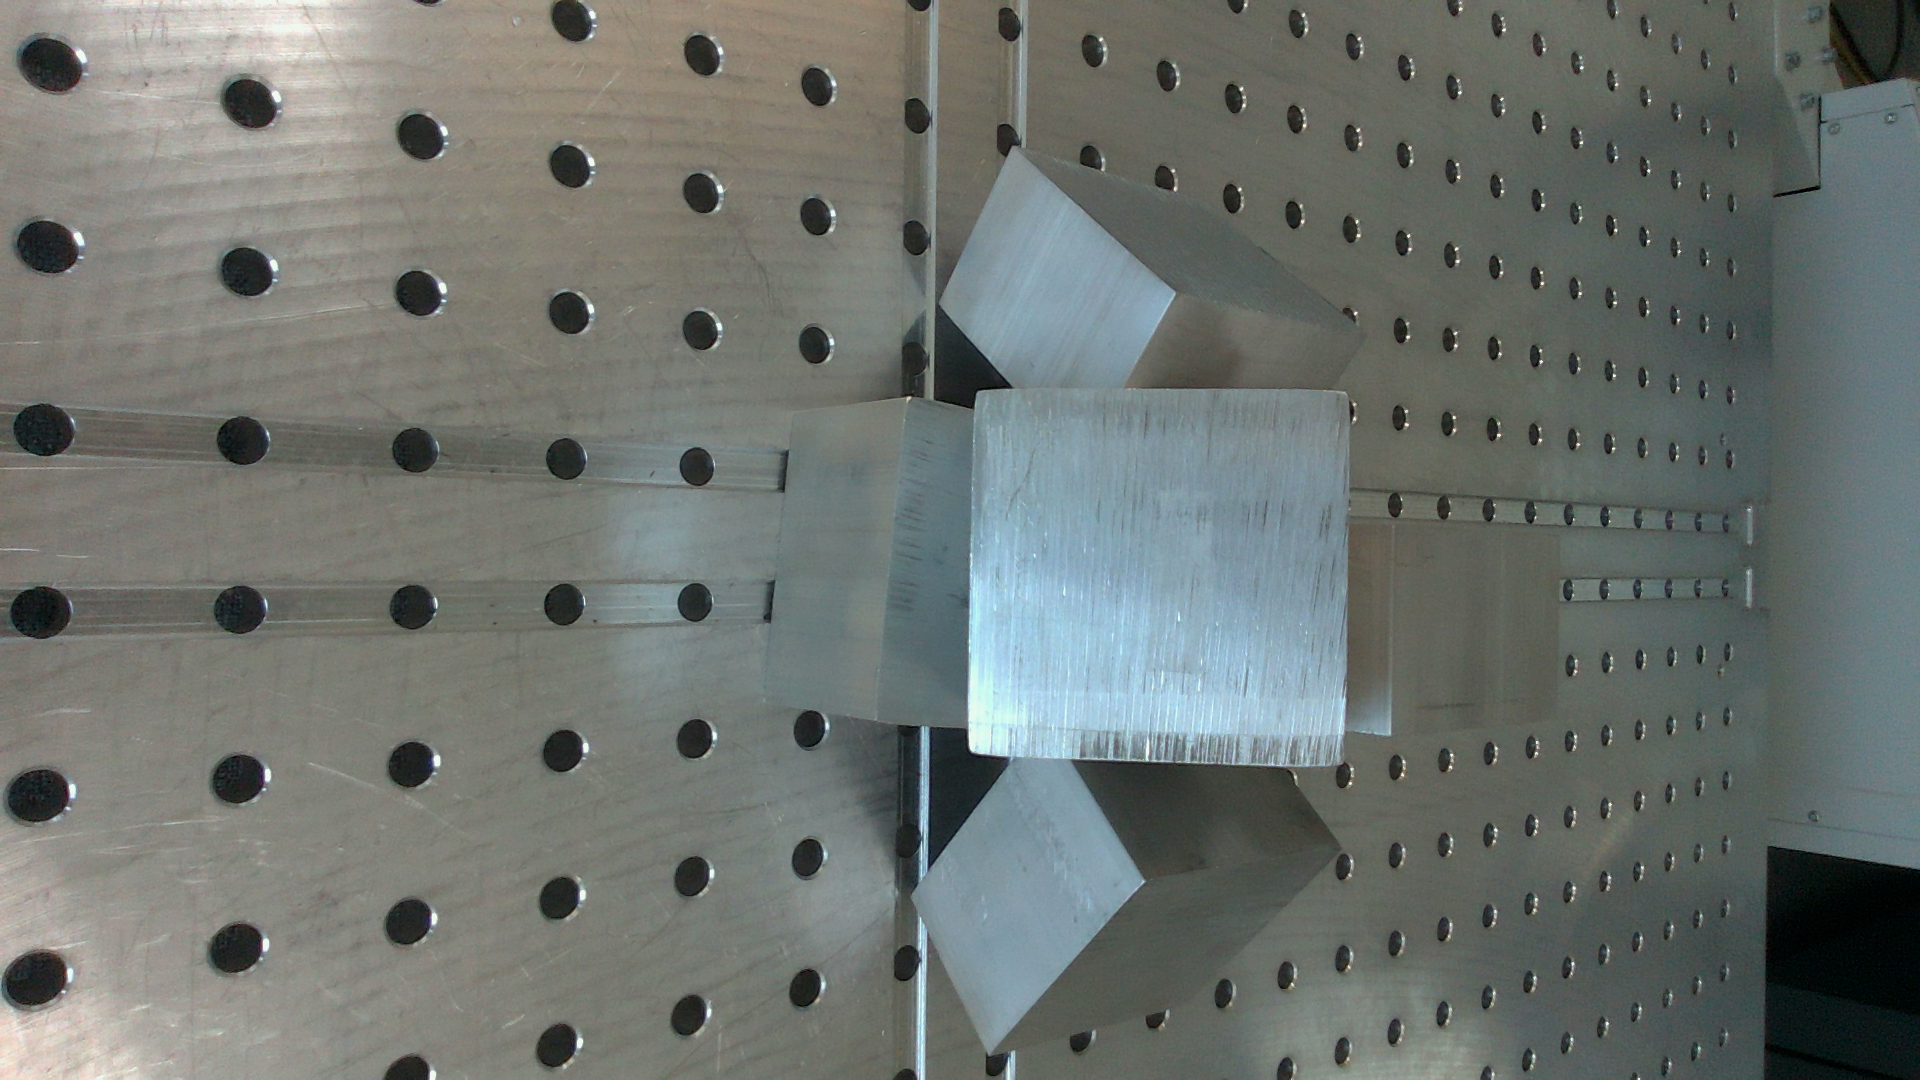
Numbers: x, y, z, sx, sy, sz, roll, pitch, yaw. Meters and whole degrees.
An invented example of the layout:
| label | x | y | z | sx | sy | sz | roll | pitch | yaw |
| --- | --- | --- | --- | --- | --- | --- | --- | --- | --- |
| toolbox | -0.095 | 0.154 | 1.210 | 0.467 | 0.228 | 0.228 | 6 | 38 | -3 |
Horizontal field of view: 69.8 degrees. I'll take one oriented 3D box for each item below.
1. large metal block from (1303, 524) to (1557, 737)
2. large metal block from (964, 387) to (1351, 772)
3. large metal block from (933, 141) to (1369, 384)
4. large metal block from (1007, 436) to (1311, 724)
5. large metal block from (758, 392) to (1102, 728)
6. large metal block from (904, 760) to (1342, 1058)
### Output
| label | x | y | z | sx | sy | sz | roll | pitch | yaw |
| --- | --- | --- | --- | --- | --- | --- | --- | --- | --- |
| large metal block | 0.106 | 0.023 | 0.380 | 0.080 | 0.080 | 0.050 | 2 | 88 | -40 |
| large metal block | 0.044 | 0.008 | 0.317 | 0.080 | 0.050 | 0.080 | 1 | 90 | 5 |
| large metal block | 0.053 | -0.064 | 0.390 | 0.080 | 0.080 | 0.050 | 3 | 127 | -40 |
| large metal block | 0.063 | 0.013 | 0.427 | 0.080 | 0.050 | 0.080 | 4 | 88 | -40 |
| large metal block | -0.003 | 0.009 | 0.373 | 0.080 | 0.050 | 0.080 | 9 | 84 | -39 |
| large metal block | 0.044 | 0.094 | 0.386 | 0.080 | 0.050 | 0.080 | 3 | 133 | -40 |
